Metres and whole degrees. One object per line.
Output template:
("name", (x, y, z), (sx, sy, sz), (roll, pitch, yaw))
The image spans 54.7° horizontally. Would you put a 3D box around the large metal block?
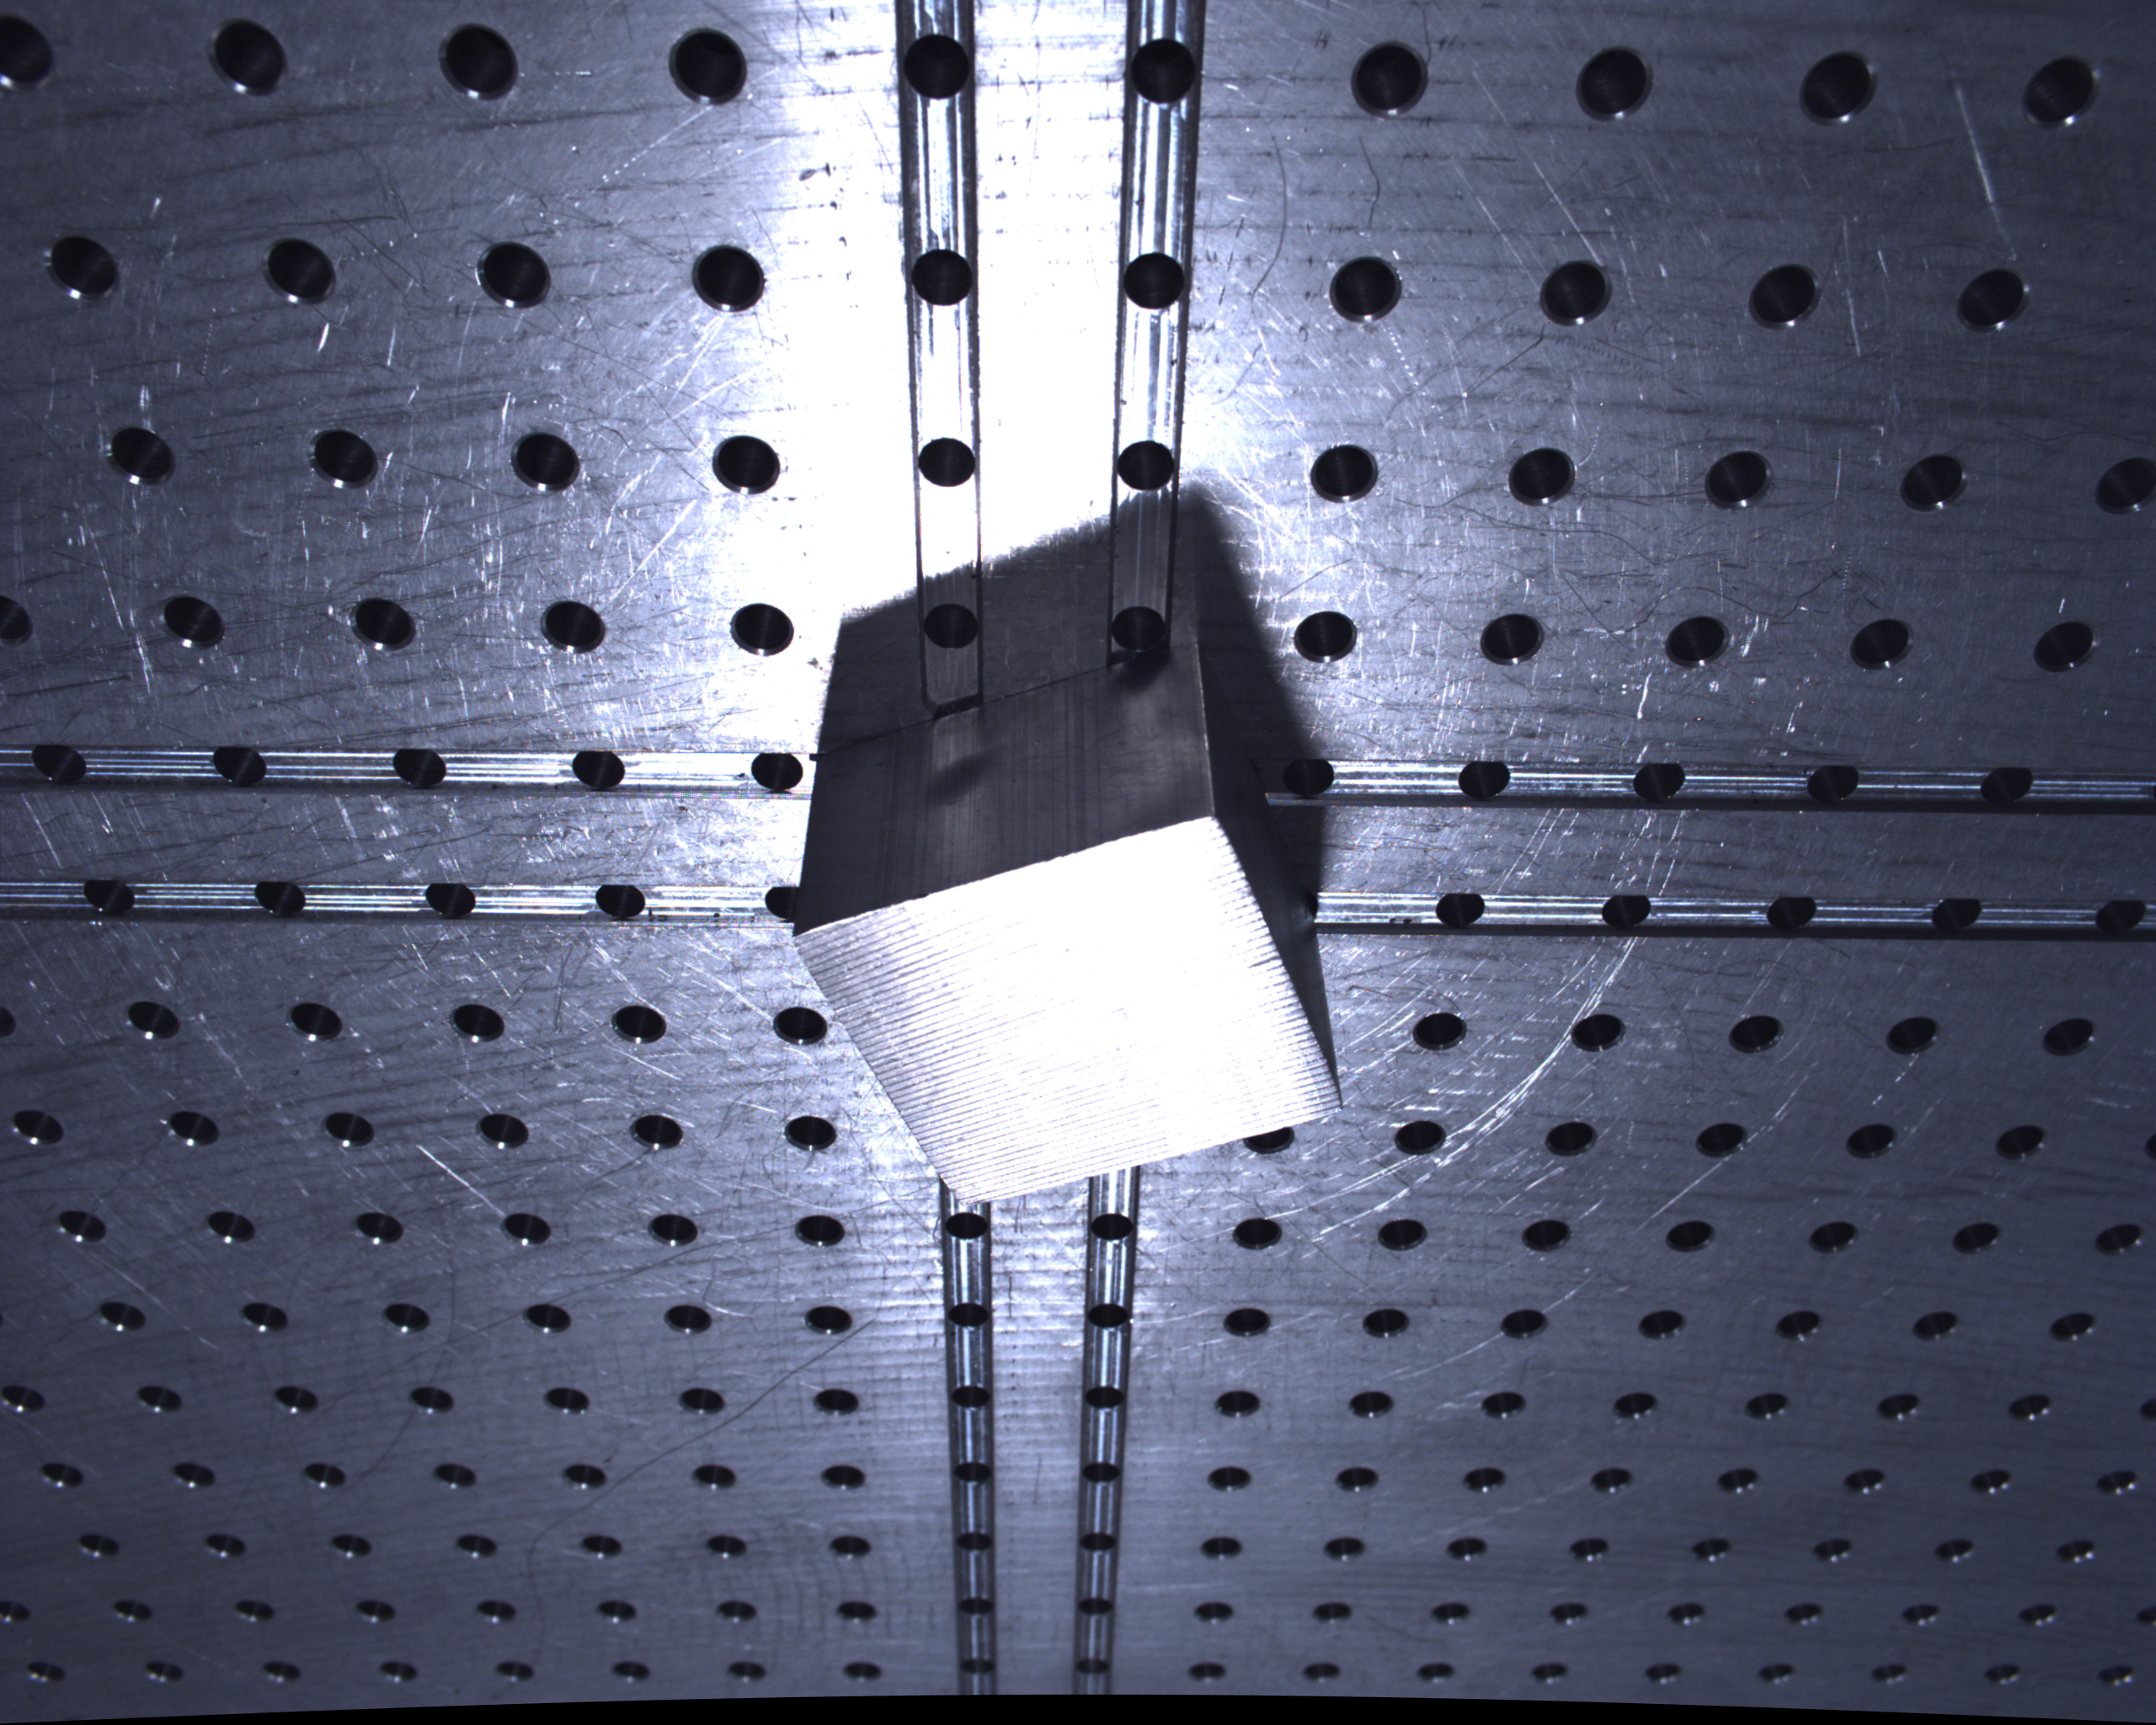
("large metal block", (0.000, 0.015, 0.404), (0.080, 0.050, 0.080), (-16, 129, 13))
